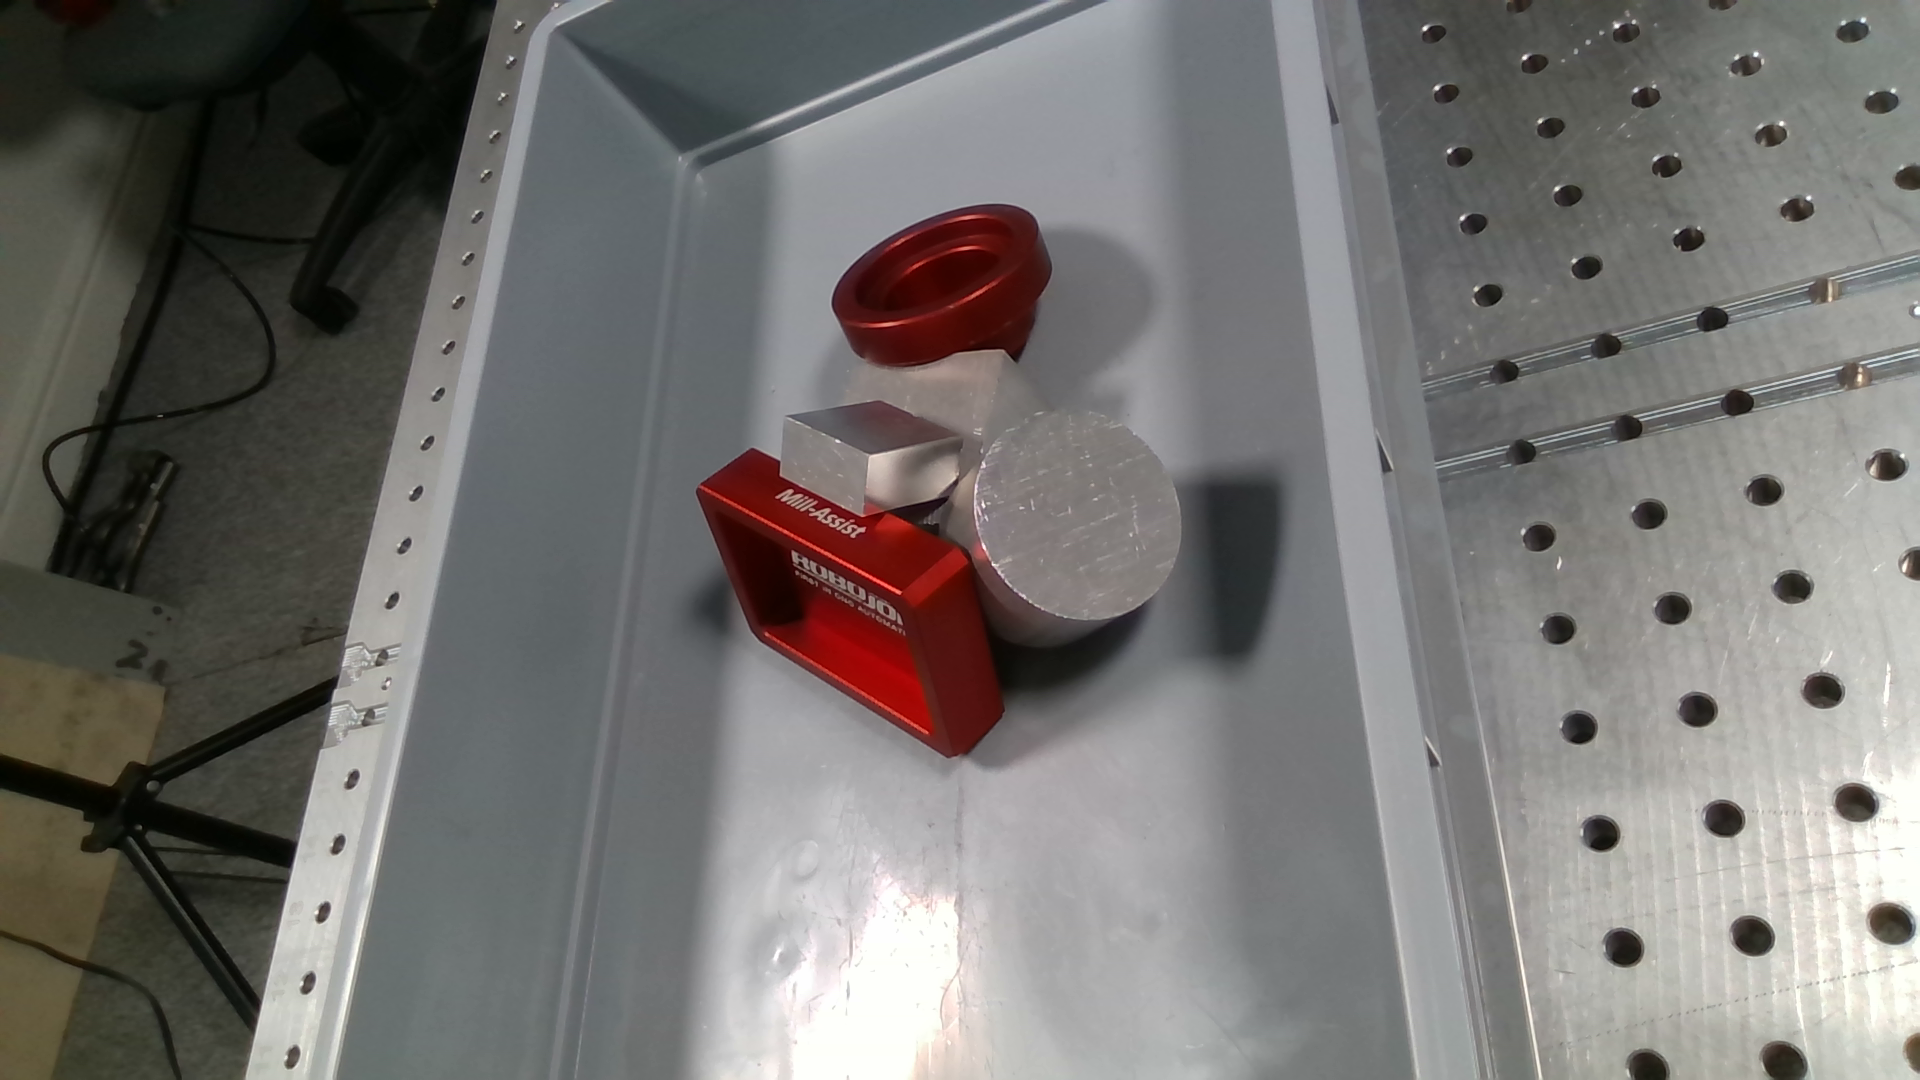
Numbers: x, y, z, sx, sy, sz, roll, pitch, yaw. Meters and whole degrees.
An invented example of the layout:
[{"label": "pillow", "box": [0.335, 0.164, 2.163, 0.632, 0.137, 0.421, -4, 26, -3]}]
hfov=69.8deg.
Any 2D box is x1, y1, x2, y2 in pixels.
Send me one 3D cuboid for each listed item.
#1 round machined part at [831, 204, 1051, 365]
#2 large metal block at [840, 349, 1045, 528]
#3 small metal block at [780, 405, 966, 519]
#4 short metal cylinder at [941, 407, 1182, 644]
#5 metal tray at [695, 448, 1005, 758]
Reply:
[{"label": "round machined part", "box": [-0.005, -0.107, 0.618, 0.098, 0.042, 0.098, -17, 36, 13]}, {"label": "large metal block", "box": [-0.012, -0.032, 0.592, 0.080, 0.050, 0.080, 0, 66, 32]}, {"label": "small metal block", "box": [-0.034, -0.033, 0.540, 0.050, 0.050, 0.025, 26, 119, 39]}, {"label": "short metal cylinder", "box": [0.036, -0.004, 0.520, 0.050, 0.080, 0.080, 136, 151, -68]}, {"label": "metal tray", "box": [-0.045, 0.024, 0.555, 0.130, 0.090, 0.030, 25, 53, 38]}]
